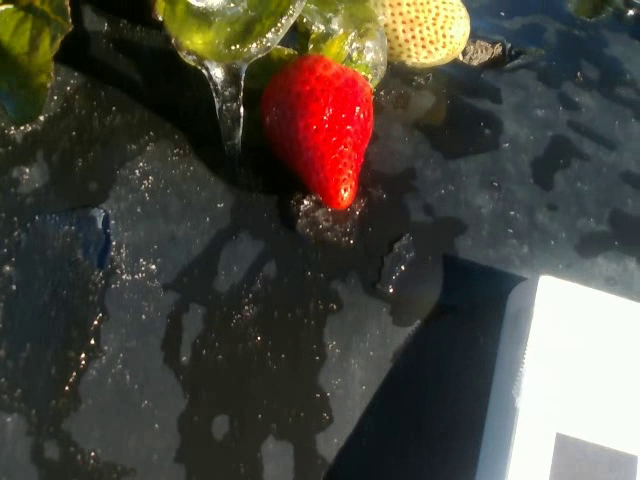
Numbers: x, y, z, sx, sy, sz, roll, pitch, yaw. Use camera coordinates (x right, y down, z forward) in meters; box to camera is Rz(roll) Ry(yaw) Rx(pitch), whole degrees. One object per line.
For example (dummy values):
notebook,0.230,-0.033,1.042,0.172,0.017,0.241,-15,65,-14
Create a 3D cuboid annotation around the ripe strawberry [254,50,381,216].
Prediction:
ripe strawberry,0.005,-0.034,0.173,0.041,0.052,0.040,1,-24,-9
